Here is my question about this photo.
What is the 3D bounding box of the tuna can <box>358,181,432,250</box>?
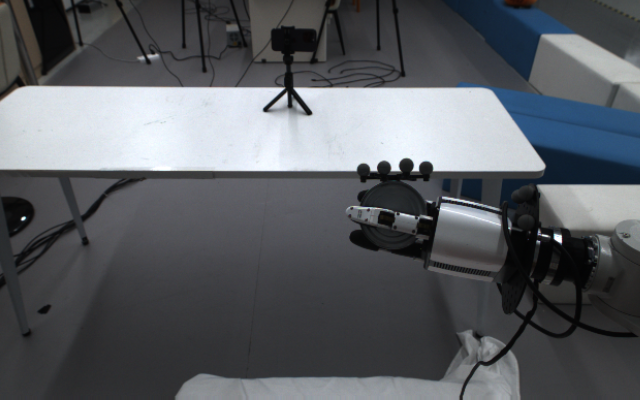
[{"bbox_3d":[0.095,0.018,0.615,0.085,0.085,0.034,15,2,18],"label":"tuna can"}]
